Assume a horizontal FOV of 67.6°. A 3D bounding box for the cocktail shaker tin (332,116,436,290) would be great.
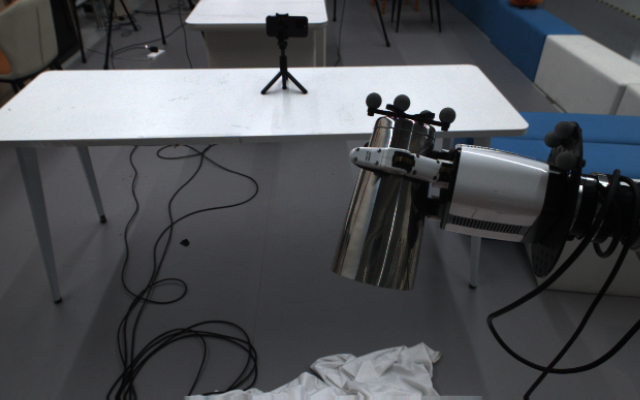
[{"bbox_3d":[0.079,0.000,0.524,0.093,0.170,0.093,13,1,0],"label":"cocktail shaker tin"}]
